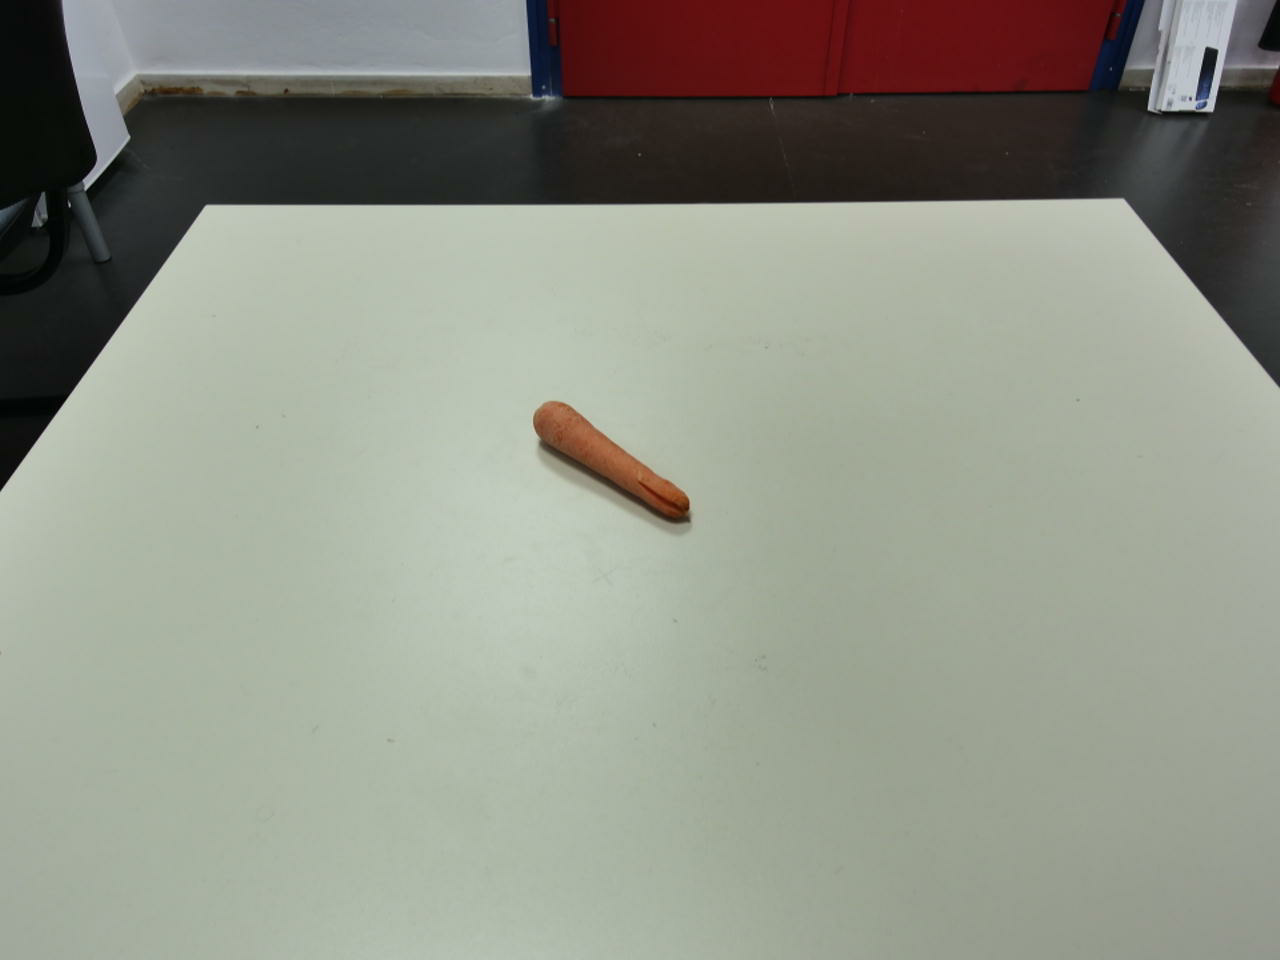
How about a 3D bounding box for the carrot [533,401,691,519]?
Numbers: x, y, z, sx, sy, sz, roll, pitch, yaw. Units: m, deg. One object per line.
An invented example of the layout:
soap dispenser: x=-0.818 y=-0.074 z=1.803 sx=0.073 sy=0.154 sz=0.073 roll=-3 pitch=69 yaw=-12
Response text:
carrot: x=-0.021 y=-0.015 z=0.632 sx=0.030 sy=0.032 sz=0.136 roll=-32 pitch=49 yaw=-33
